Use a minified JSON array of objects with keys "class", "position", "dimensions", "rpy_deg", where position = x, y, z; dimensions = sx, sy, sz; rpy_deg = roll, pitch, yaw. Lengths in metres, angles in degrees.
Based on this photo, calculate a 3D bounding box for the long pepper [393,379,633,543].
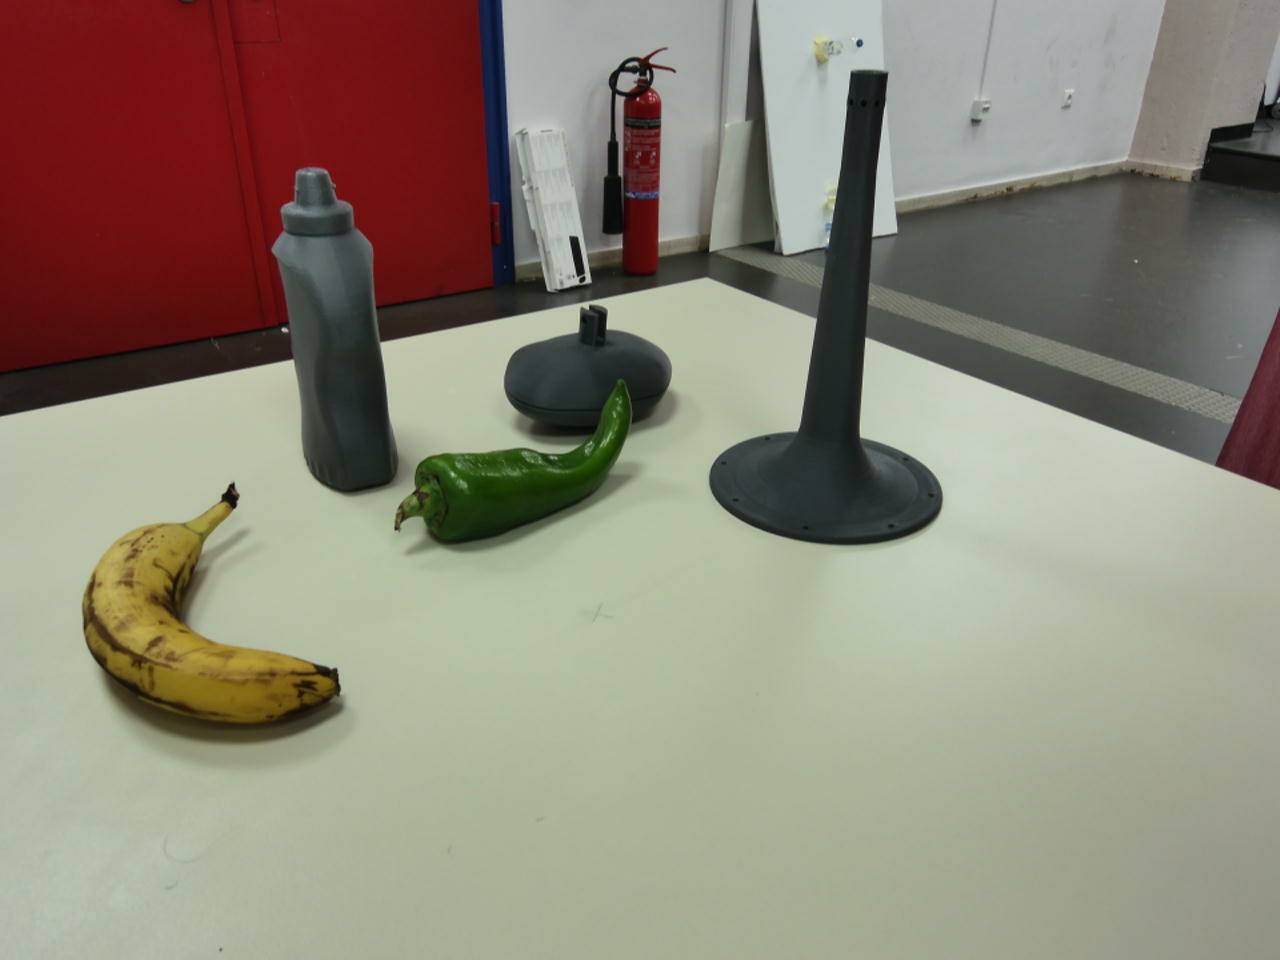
[{"class":"long pepper","position":[-0.069,-0.010,0.600],"dimensions":[0.175,0.065,0.058],"rpy_deg":[-19,32,-34]}]
